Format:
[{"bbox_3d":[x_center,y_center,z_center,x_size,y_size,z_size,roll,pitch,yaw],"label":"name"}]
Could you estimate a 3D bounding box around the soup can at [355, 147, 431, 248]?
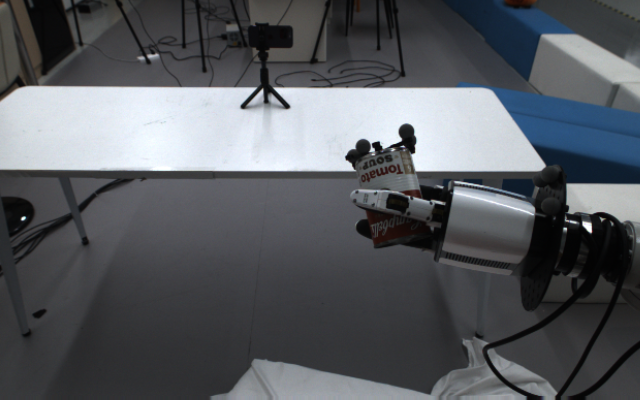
[{"bbox_3d":[0.087,-0.003,0.556,0.067,0.067,0.101,-12,80,-19],"label":"soup can"}]
